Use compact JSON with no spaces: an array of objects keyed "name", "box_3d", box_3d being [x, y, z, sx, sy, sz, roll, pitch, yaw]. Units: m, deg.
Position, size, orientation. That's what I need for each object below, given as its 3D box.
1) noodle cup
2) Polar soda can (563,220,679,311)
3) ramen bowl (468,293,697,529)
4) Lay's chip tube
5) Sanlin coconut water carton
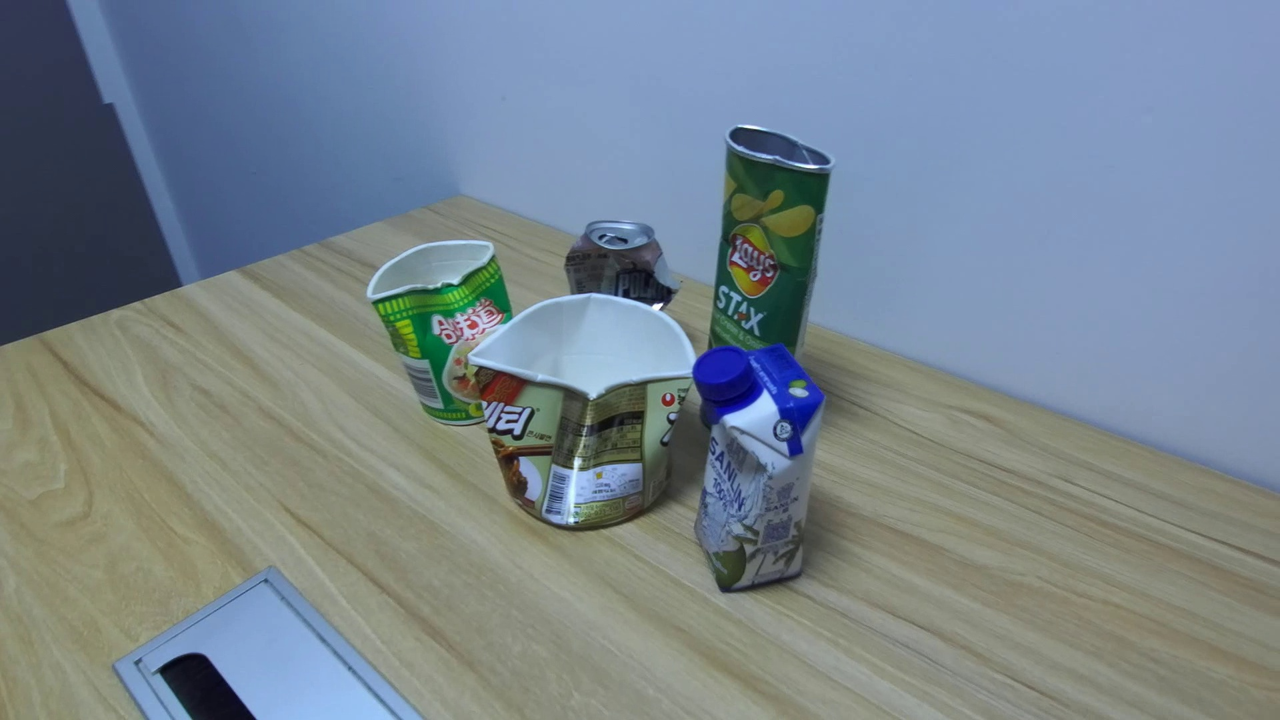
[{"name":"noodle cup","box_3d":[-0.132,-0.019,0.511,0.083,0.122,0.075,-15,28,-5]},{"name":"Polar soda can","box_3d":[-0.014,-0.052,0.559,0.074,0.114,0.070,-24,45,-29]},{"name":"ramen bowl","box_3d":[-0.028,0.029,0.451,0.137,0.098,0.137,2,33,-1]},{"name":"Lay's chip tube","box_3d":[0.080,-0.041,0.461,0.074,0.200,0.069,14,35,20]},{"name":"Sanlin coconut water carton","box_3d":[0.059,0.055,0.374,0.058,0.142,0.077,-13,34,-9]}]
